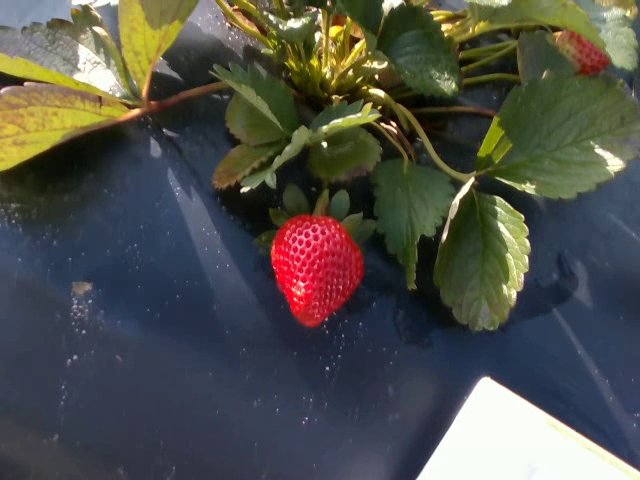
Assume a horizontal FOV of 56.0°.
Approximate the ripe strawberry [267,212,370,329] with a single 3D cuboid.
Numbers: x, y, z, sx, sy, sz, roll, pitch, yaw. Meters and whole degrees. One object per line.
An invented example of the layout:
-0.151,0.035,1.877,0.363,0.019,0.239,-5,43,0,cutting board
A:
-0.002,0.012,0.202,0.041,0.041,0.047,2,41,14,ripe strawberry
